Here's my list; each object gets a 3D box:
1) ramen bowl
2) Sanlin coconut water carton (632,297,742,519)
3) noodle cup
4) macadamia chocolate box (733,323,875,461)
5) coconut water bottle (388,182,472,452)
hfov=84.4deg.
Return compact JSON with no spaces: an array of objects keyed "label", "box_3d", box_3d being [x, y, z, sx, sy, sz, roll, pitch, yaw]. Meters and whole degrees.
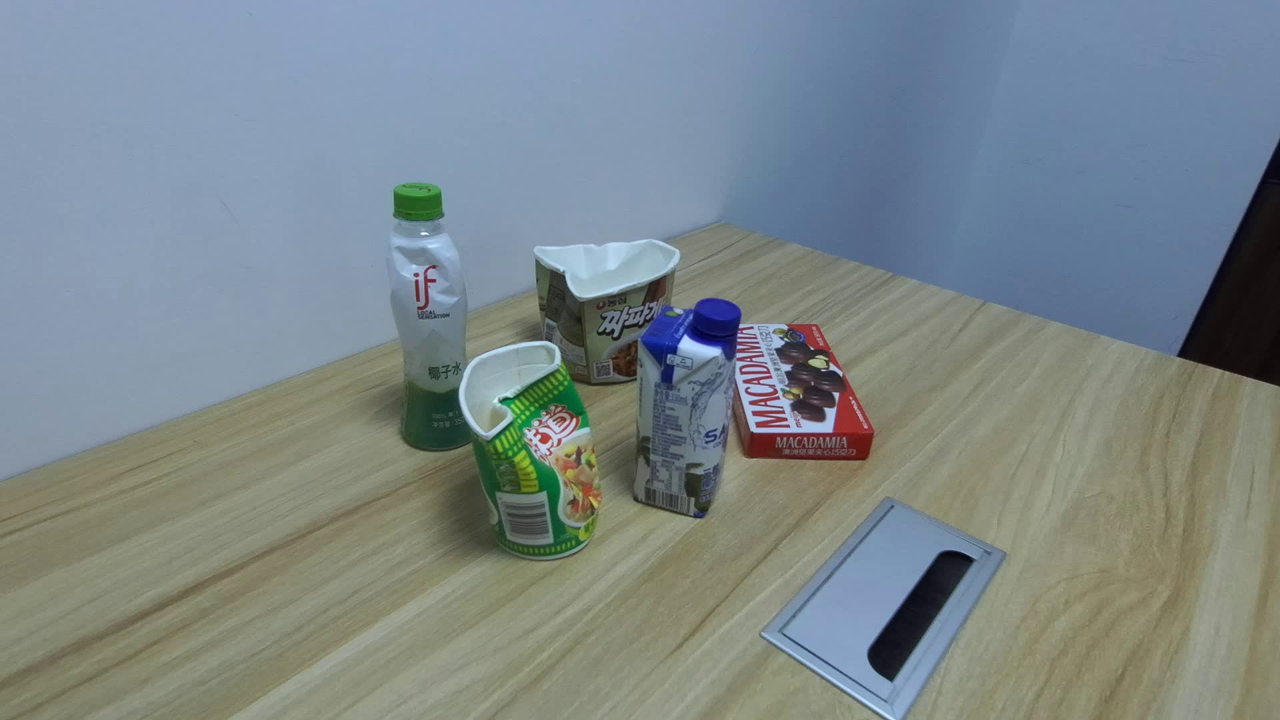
[{"label":"ramen bowl","box_3d":[-0.022,-0.049,0.634,0.134,0.097,0.113,-16,34,-29]},{"label":"Sanlin coconut water carton","box_3d":[0.030,0.028,0.456,0.060,0.144,0.060,10,31,16]},{"label":"noodle cup","box_3d":[-0.063,0.057,0.435,0.083,0.122,0.075,-31,35,-30]},{"label":"macadamia chocolate box","box_3d":[0.124,0.021,0.598,0.095,0.027,0.177,1,29,-1]},{"label":"coconut water bottle","box_3d":[-0.149,-0.028,0.506,0.067,0.187,0.067,2,27,-1]}]
